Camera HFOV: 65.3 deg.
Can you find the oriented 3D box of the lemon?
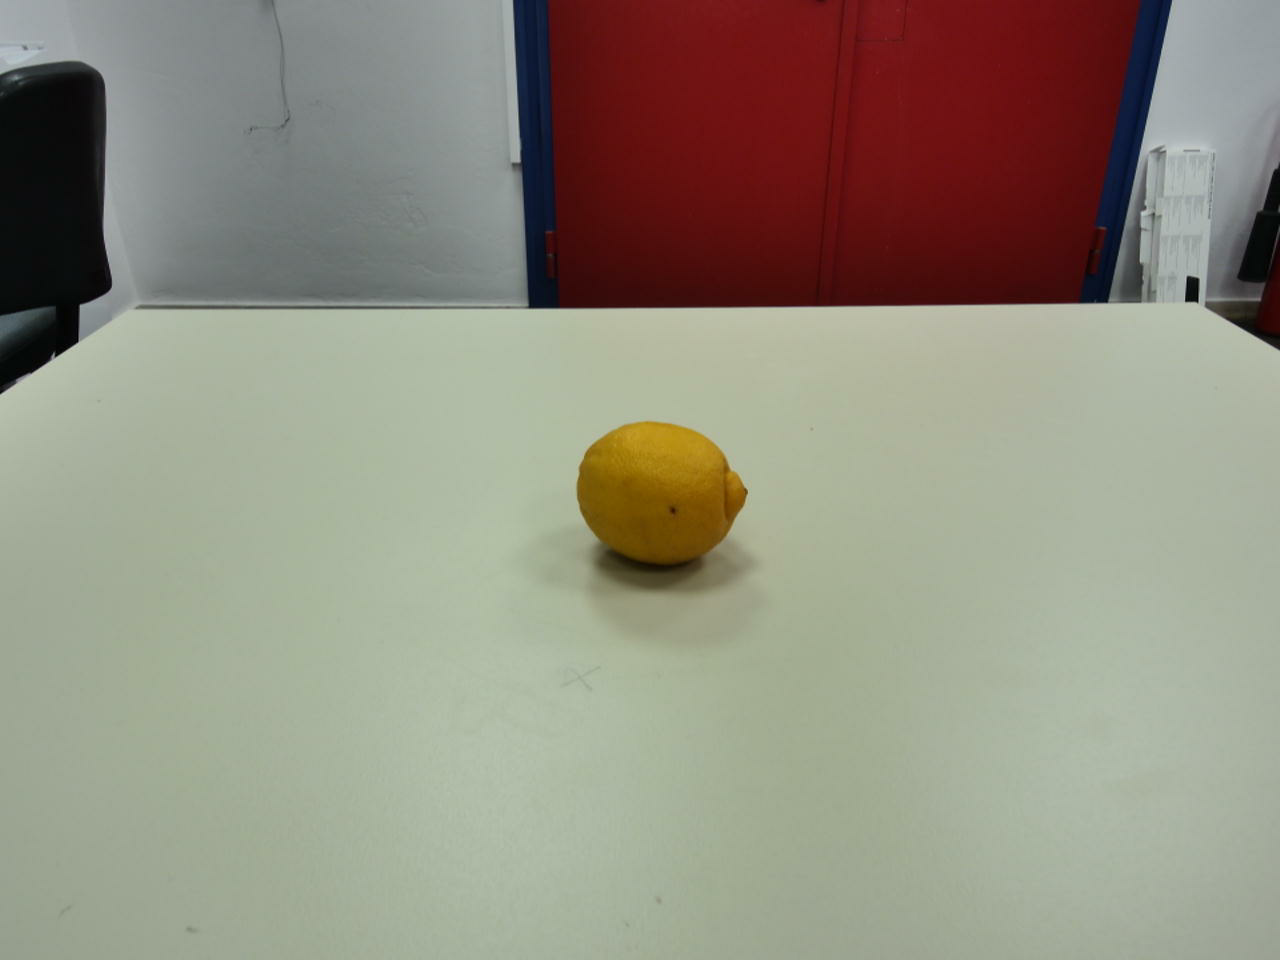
[{"bbox_3d":[0.007,0.006,0.423,0.067,0.059,0.060,20,31,38],"label":"lemon"}]
